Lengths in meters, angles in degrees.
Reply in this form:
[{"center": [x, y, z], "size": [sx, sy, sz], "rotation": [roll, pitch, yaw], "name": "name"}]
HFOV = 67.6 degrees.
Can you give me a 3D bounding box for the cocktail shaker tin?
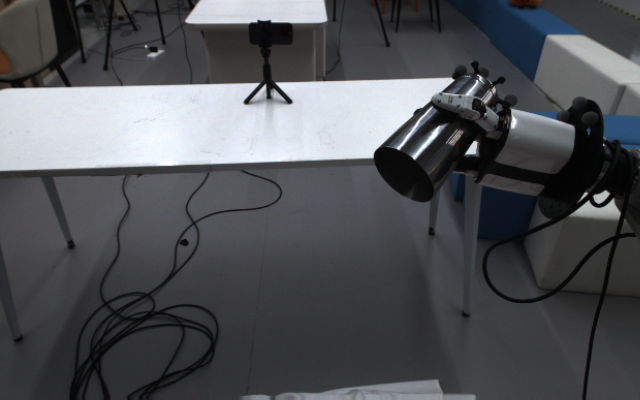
[{"center": [0.158, -0.092, 0.629], "size": [0.093, 0.093, 0.170], "rotation": [32, 66, 35], "name": "cocktail shaker tin"}]
